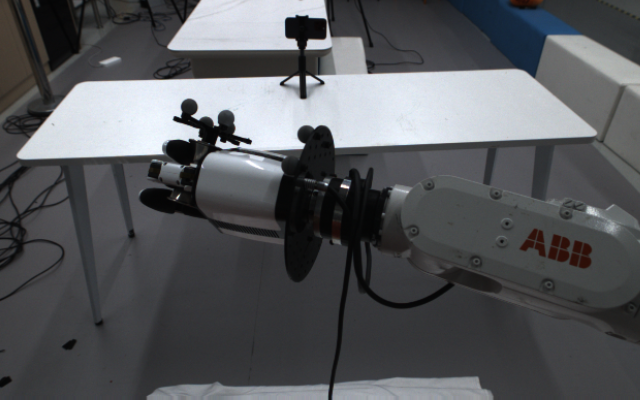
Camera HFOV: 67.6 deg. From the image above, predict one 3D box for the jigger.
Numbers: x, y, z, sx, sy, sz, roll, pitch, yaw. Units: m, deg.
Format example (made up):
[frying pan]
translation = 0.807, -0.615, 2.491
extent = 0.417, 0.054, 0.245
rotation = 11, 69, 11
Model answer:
[jigger]
translation = -0.131, -0.027, 0.519
extent = 0.043, 0.071, 0.043
rotation = 18, -6, 2
